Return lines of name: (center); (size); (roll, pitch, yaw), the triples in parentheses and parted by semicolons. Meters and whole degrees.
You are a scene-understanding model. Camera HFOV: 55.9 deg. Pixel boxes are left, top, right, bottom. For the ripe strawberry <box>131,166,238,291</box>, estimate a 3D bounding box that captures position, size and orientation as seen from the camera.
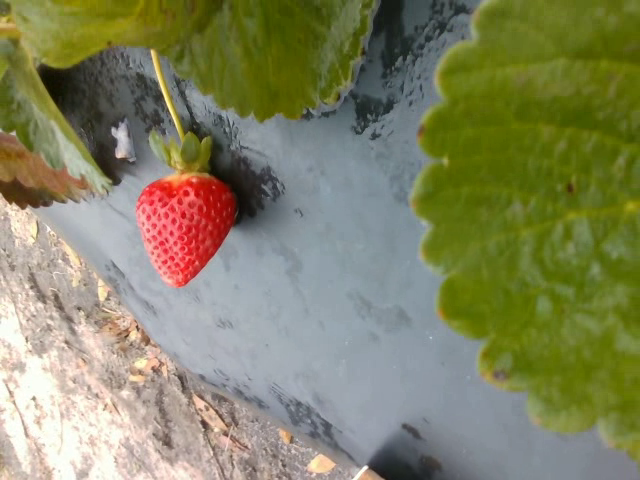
ripe strawberry: (-0.060, -0.005, 0.257); (0.048, 0.054, 0.045); (4, 2, -27)
